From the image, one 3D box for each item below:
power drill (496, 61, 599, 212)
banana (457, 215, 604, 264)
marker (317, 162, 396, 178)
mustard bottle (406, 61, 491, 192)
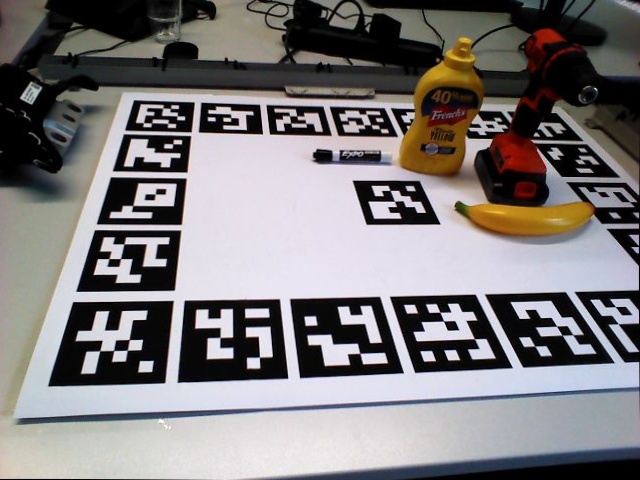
[{"bbox_3d":[0.301,-0.127,0.696,0.057,0.188,0.183,12,40,2],"label":"power drill"},{"bbox_3d":[0.288,0.002,0.696,0.198,0.039,0.074,6,44,1],"label":"banana"},{"bbox_3d":[0.056,-0.108,0.794,0.121,0.020,0.019,3,43,-5],"label":"marker"},{"bbox_3d":[0.190,-0.161,0.743,0.096,0.192,0.058,10,42,1],"label":"mustard bottle"}]
